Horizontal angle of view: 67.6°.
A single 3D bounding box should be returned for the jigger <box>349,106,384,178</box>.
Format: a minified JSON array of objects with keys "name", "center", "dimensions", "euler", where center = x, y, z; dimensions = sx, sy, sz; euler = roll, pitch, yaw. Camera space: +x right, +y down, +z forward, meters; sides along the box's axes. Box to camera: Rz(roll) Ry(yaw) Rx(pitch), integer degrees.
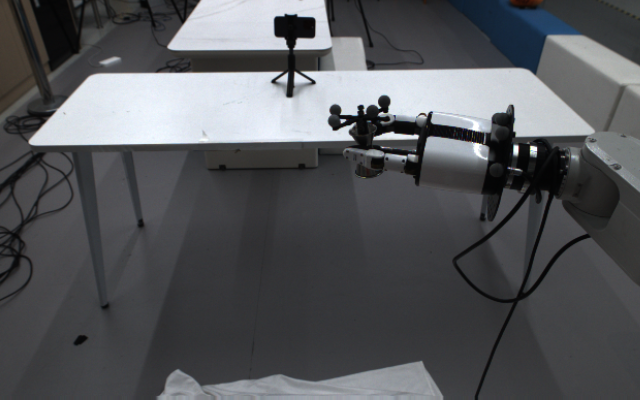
[{"name":"jigger","center":[0.067,-0.071,0.700],"dimensions":[0.043,0.071,0.043],"euler":[-10,32,6]}]
